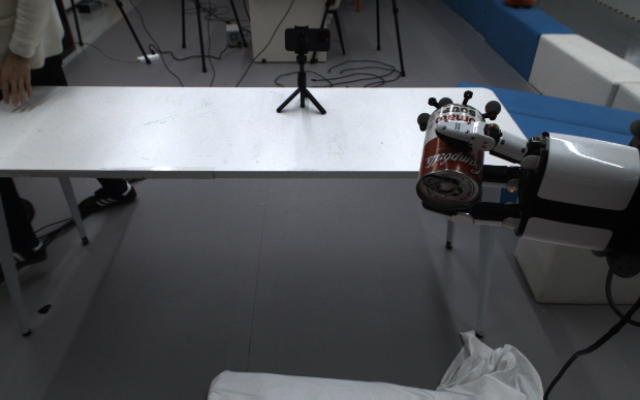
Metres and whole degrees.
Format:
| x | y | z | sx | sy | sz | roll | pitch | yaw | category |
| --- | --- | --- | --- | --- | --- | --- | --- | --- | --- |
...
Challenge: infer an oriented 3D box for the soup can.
| x | y | z | sx | sy | sz | roll | pitch | yaw | category |
| --- | --- | --- | --- | --- | --- | --- | --- | --- | --- |
| 0.148 | -0.050 | 0.538 | 0.067 | 0.067 | 0.101 | 9 | 56 | 10 | soup can |
